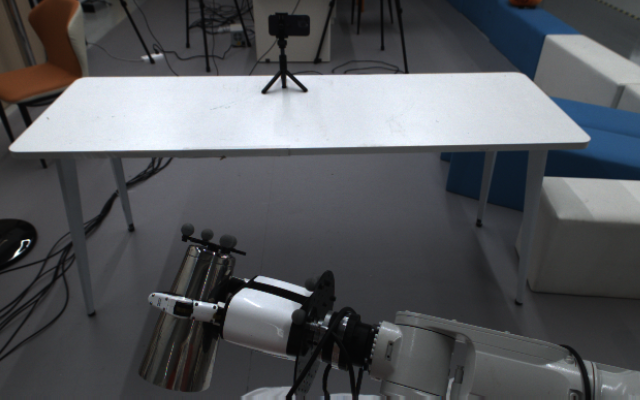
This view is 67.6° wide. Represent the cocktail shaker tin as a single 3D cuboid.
[{"bbox_3d":[-0.166,0.150,0.635,0.093,0.170,0.093,15,-6,2],"label":"cocktail shaker tin"}]
